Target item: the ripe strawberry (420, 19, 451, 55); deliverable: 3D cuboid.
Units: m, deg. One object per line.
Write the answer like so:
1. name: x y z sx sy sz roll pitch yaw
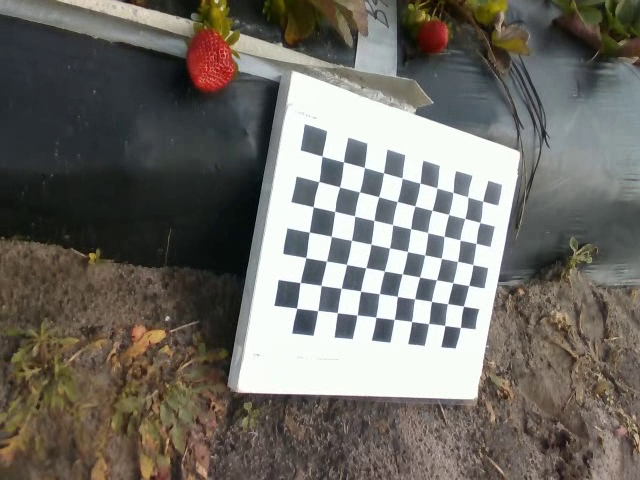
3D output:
1. ripe strawberry: 0.115 -0.198 0.617 0.038 0.030 0.048 27 27 -31

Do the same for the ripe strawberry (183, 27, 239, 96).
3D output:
1. ripe strawberry: -0.077 -0.124 0.448 0.030 0.048 0.052 -14 33 38
